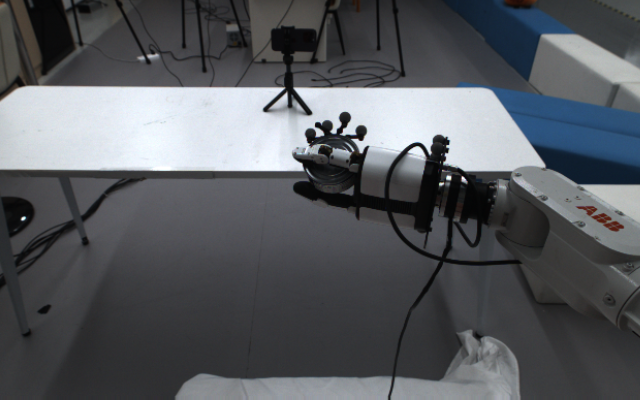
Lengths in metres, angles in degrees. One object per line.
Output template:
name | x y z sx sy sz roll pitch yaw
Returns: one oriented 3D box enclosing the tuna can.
tuna can | 0.018 -0.053 0.720 0.085 0.034 0.085 -6 61 10
